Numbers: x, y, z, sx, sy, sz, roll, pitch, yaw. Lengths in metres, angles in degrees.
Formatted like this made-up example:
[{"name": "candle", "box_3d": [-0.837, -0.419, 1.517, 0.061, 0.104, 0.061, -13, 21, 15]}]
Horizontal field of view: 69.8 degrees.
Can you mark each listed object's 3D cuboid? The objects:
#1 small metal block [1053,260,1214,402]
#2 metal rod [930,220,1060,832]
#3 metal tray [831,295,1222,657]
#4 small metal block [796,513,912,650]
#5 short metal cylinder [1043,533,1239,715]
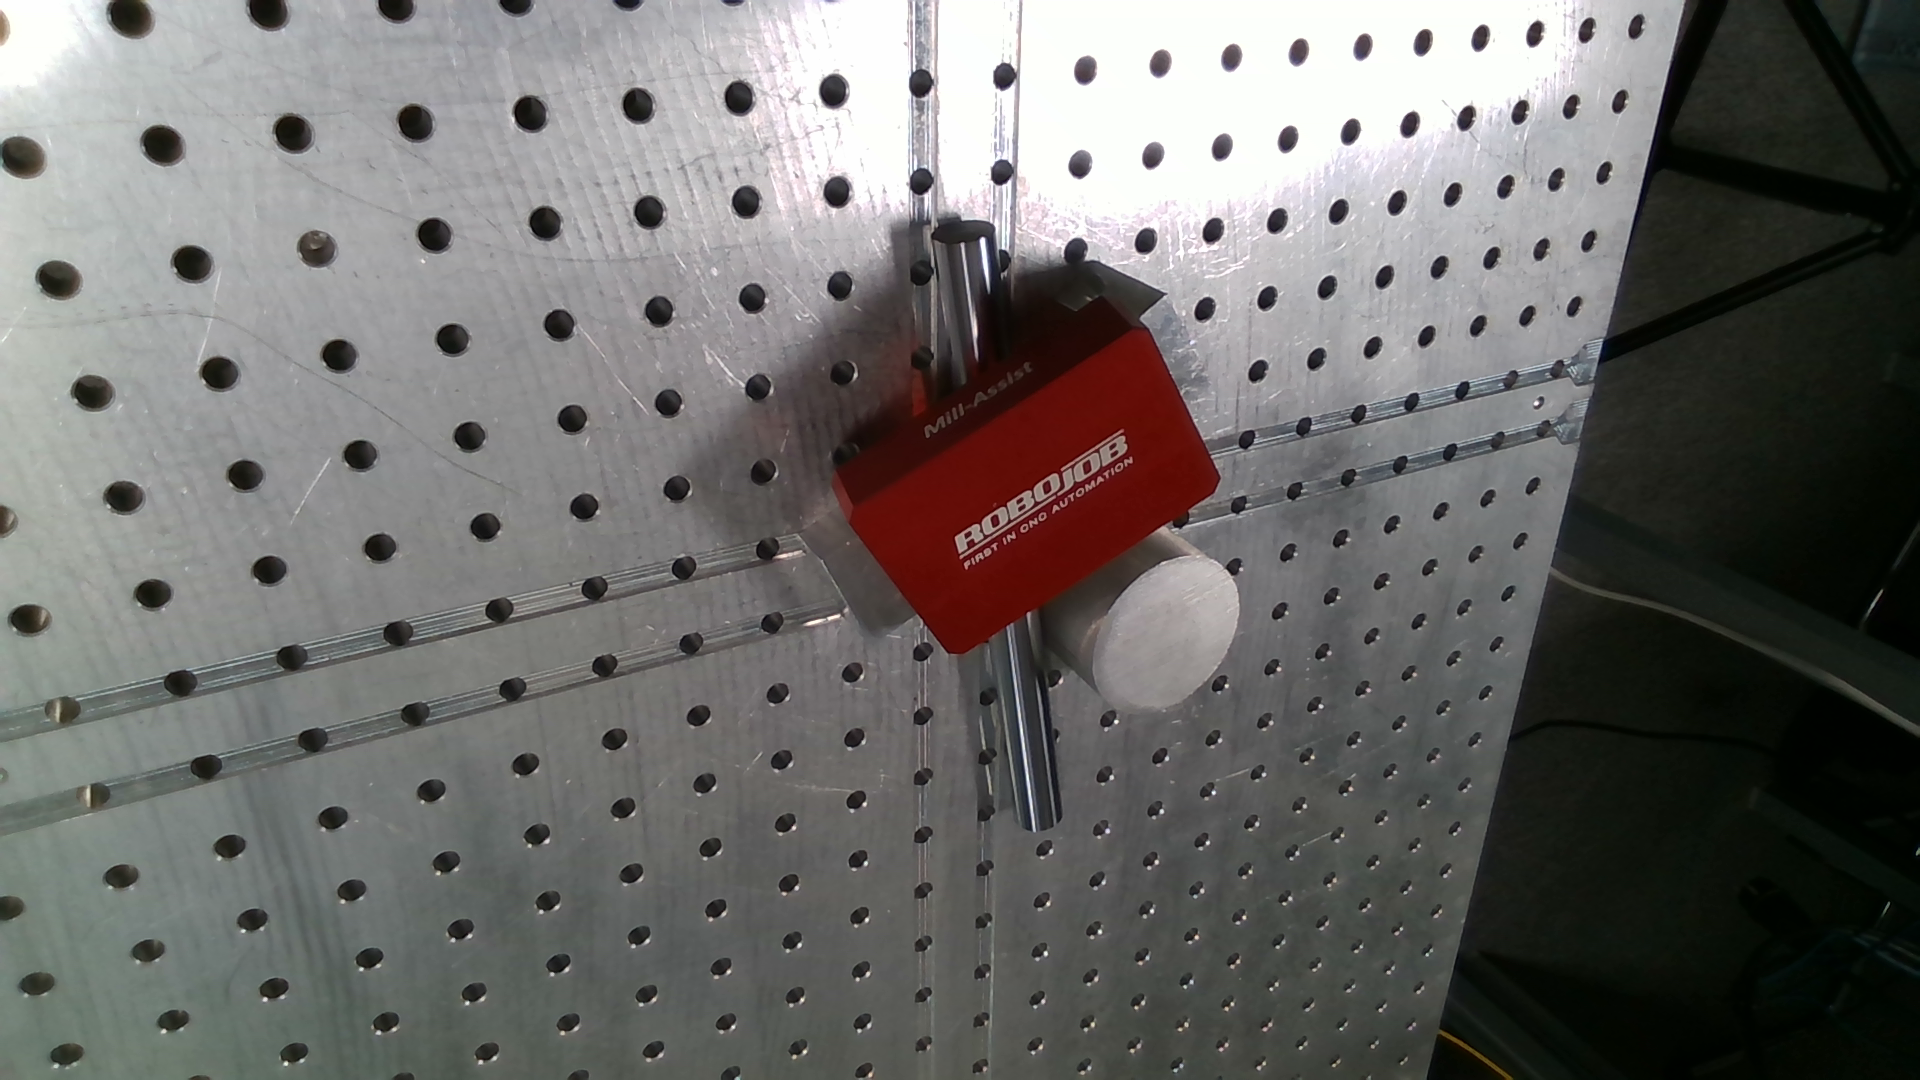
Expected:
[{"name": "small metal block", "box_3d": [0.071, -0.082, 0.566, 0.025, 0.050, 0.050, -41, 129, -6]}, {"name": "metal rod", "box_3d": [0.020, 0.009, 0.601, 0.025, 0.025, 0.301, -22, 124, -20]}, {"name": "metal tray", "box_3d": [0.027, -0.023, 0.535, 0.130, 0.030, 0.090, -33, 128, 2]}, {"name": "small metal block", "box_3d": [-0.032, 0.008, 0.567, 0.050, 0.025, 0.050, -35, 128, -11]}, {"name": "short metal cylinder", "box_3d": [0.081, 0.033, 0.635, 0.080, 0.050, 0.080, -14, 122, -25]}]
